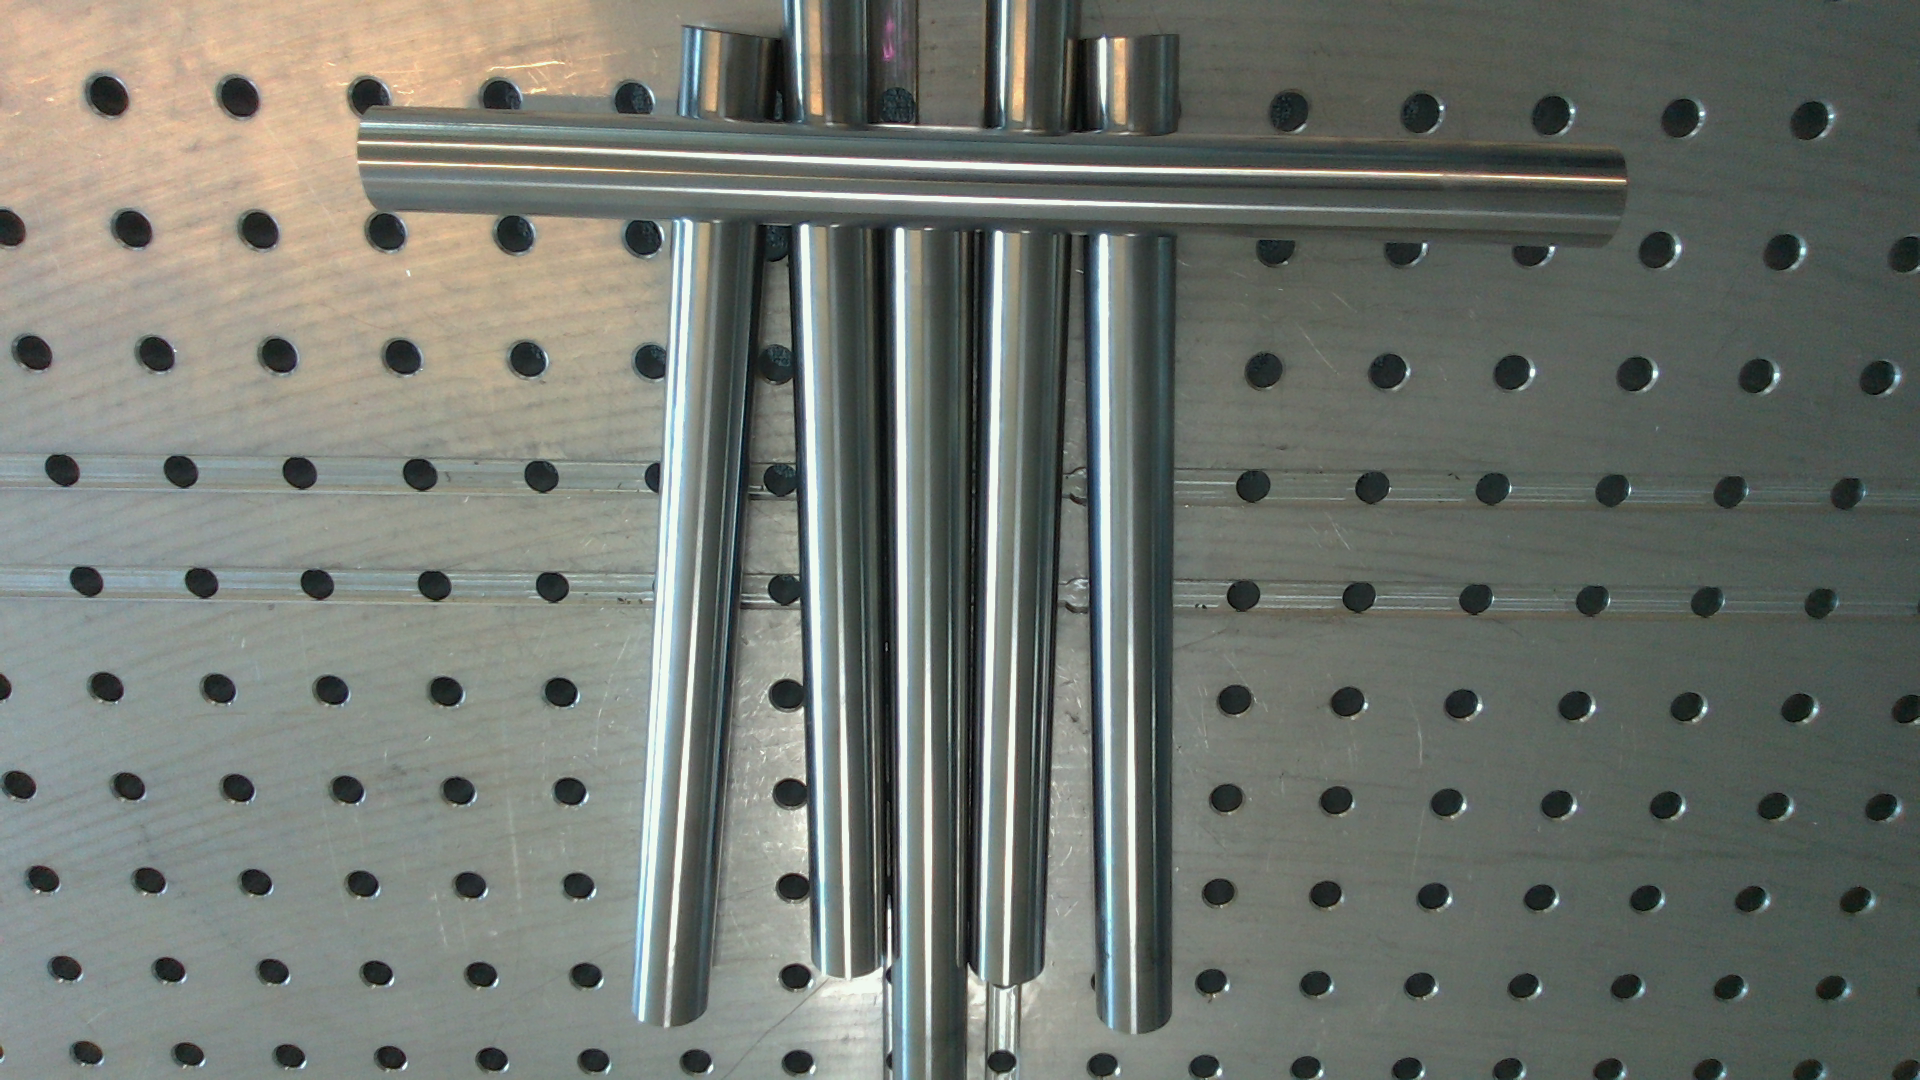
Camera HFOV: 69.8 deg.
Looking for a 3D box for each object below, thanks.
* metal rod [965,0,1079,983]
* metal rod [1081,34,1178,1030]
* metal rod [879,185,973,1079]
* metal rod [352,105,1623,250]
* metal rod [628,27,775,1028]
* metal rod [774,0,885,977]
[{"bbox_3d":[0.016,-0.004,0.396,0.025,0.025,0.300,1,110,0],"label":"metal rod"},{"bbox_3d":[0.049,0.013,0.402,0.025,0.025,0.300,-2,110,1],"label":"metal rod"},{"bbox_3d":[-0.011,0.046,0.413,0.025,0.025,0.300,1,111,0],"label":"metal rod"},{"bbox_3d":[0.007,-0.089,0.337,0.300,0.025,0.025,2,110,-1],"label":"metal rod"},{"bbox_3d":[-0.077,0.012,0.399,0.025,0.025,0.300,7,110,-2],"label":"metal rod"},{"bbox_3d":[-0.035,-0.007,0.394,0.025,0.025,0.300,0,110,0],"label":"metal rod"}]
